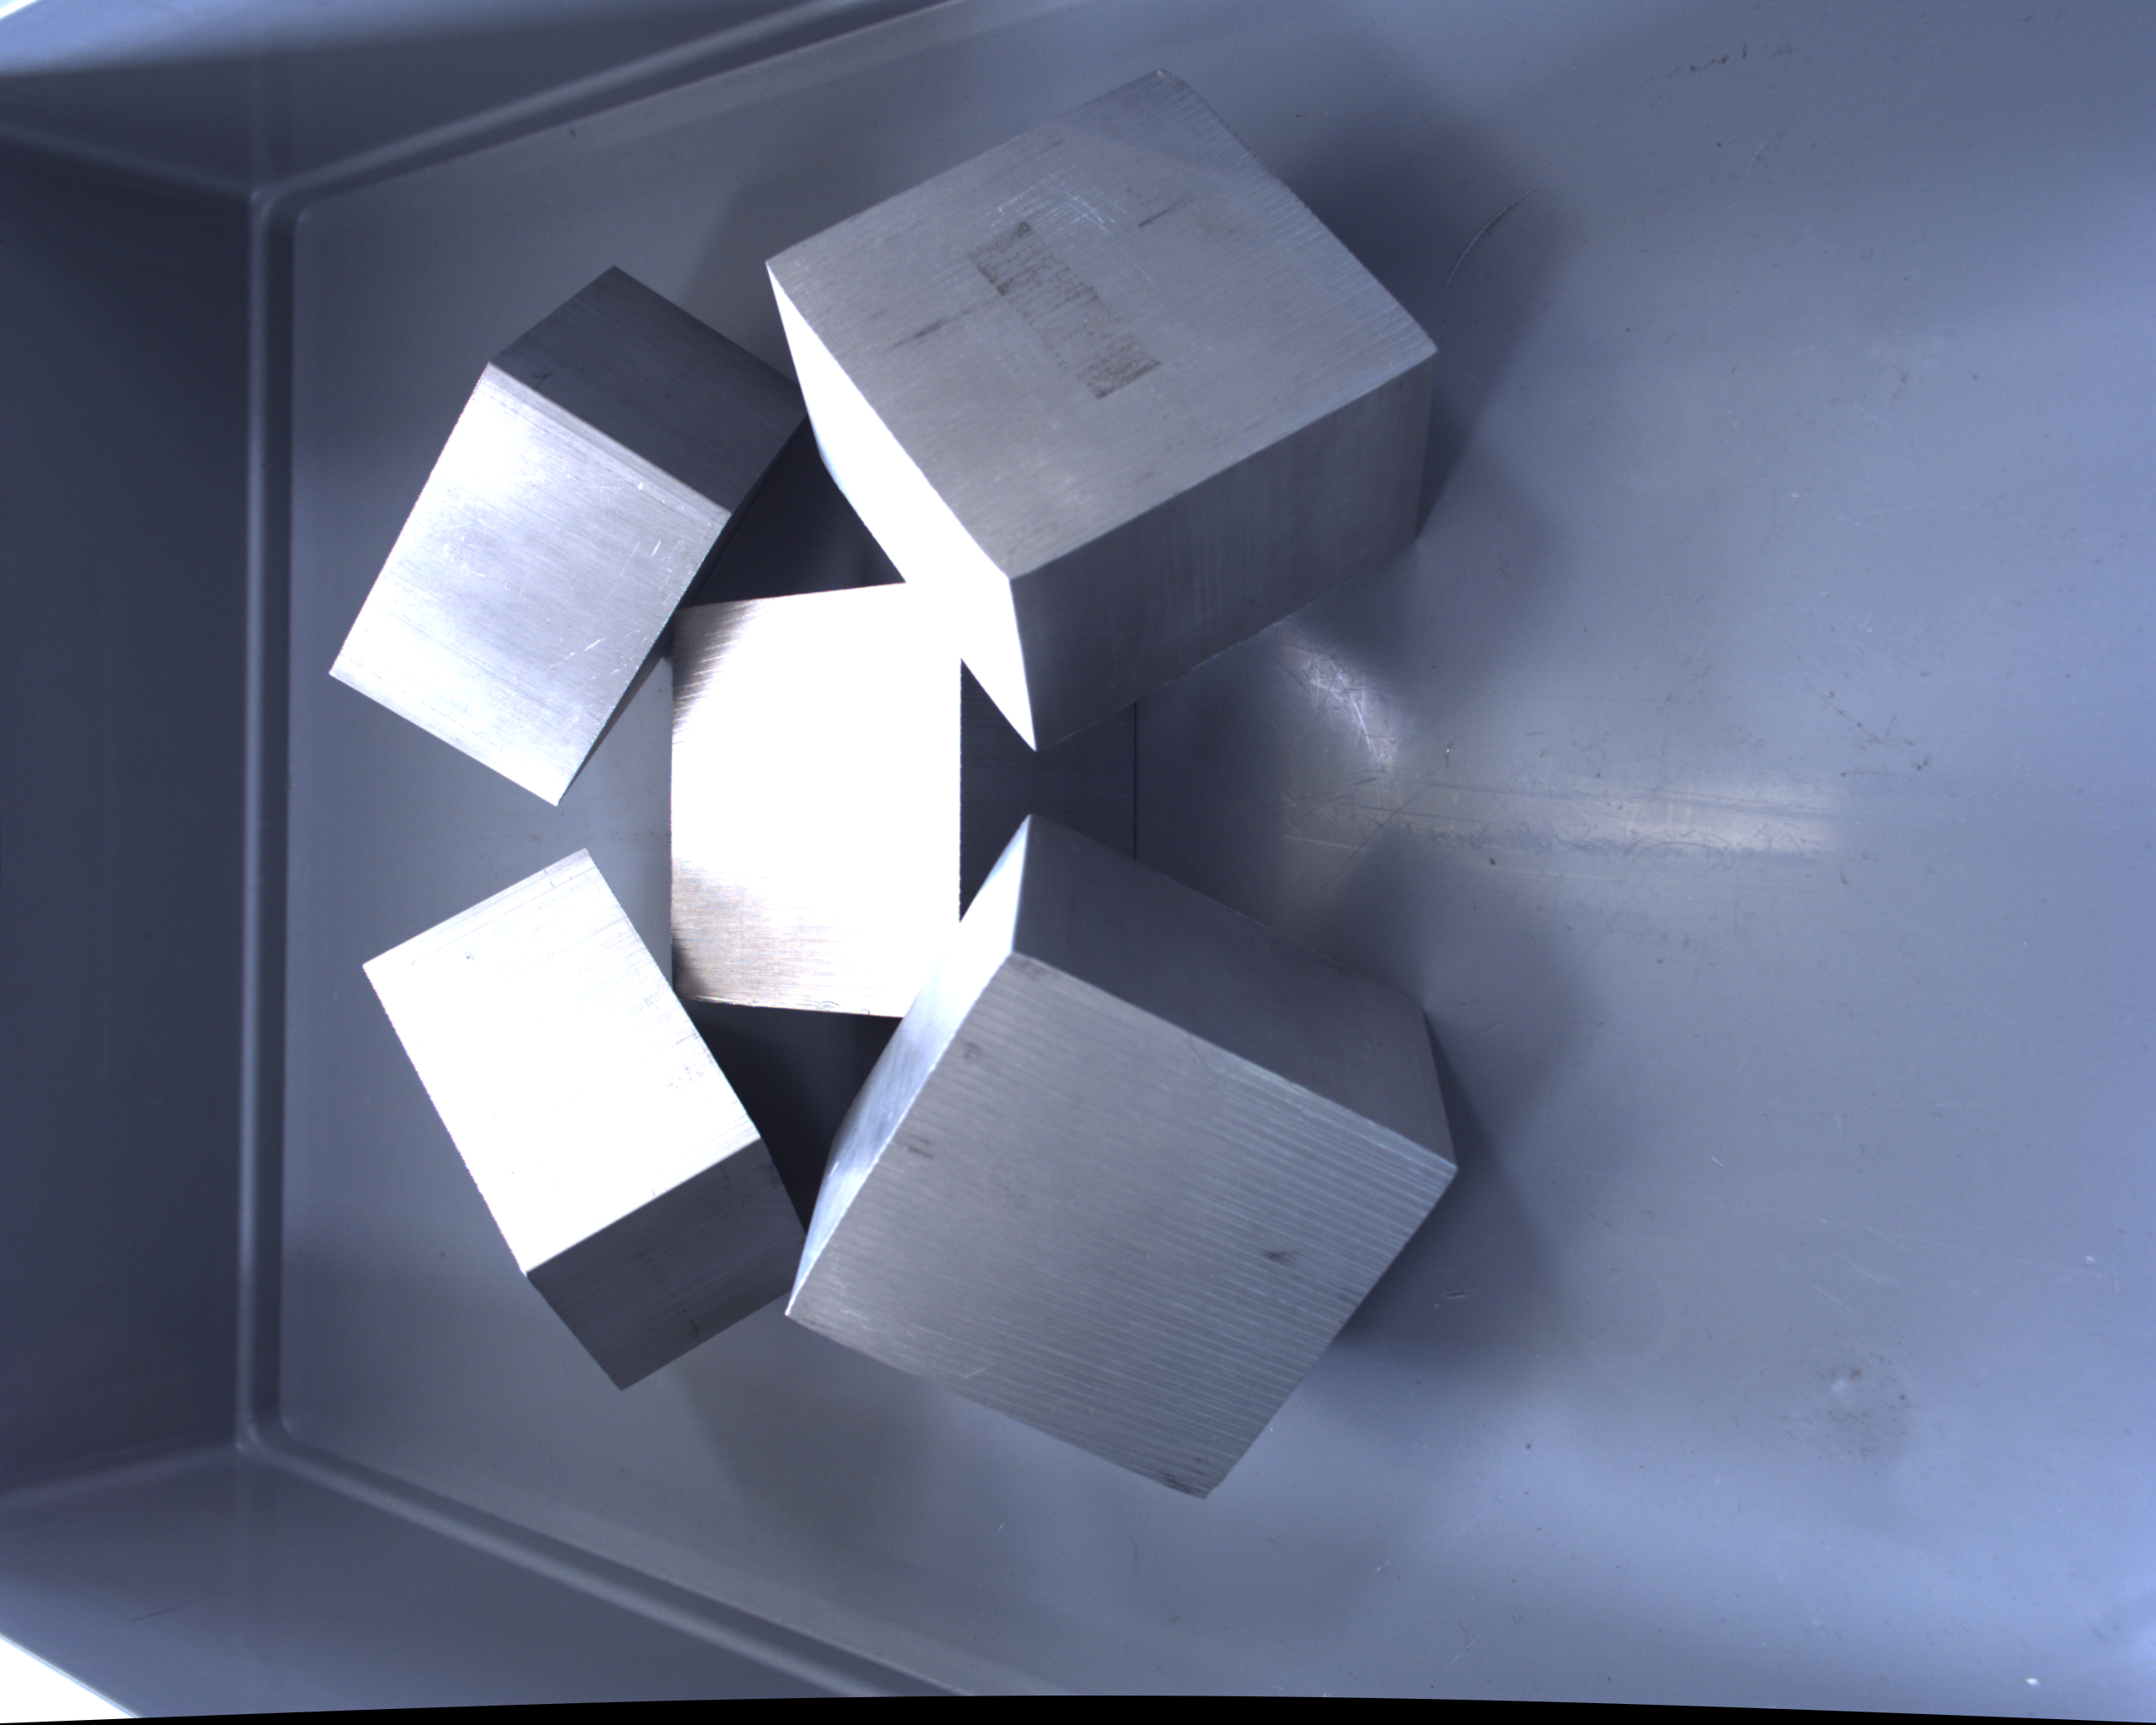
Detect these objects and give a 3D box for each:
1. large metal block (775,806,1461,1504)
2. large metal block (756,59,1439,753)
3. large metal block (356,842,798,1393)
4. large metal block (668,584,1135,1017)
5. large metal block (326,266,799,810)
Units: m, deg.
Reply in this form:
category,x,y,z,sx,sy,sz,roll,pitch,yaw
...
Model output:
category,x,y,z,sx,sy,sz,roll,pitch,yaw
large metal block,0.006,0.050,0.355,0.080,0.050,0.080,27,113,-11
large metal block,0.004,-0.079,0.358,0.080,0.050,0.080,-30,63,-11
large metal block,-0.102,0.056,0.446,0.080,0.050,0.080,53,165,26
large metal block,-0.036,-0.012,0.417,0.080,0.050,0.080,1,91,40
large metal block,-0.106,-0.071,0.446,0.050,0.080,0.080,31,117,-11
